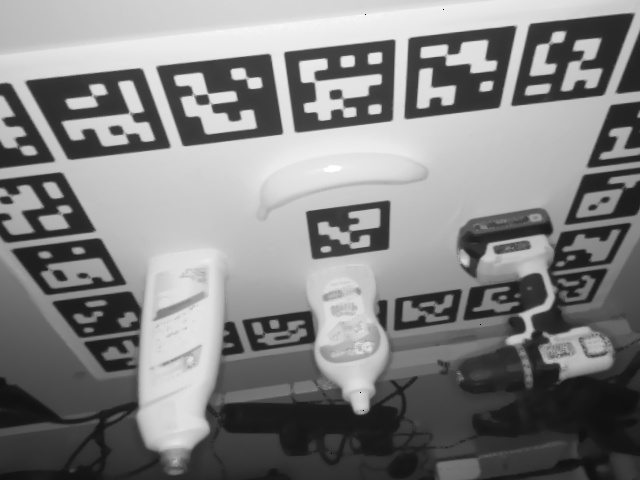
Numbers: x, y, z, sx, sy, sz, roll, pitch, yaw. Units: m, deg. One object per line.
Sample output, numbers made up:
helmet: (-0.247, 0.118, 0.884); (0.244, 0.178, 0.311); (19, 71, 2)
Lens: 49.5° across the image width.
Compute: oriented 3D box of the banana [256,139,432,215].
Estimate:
banana: (0.022, -0.074, 0.741); (0.198, 0.039, 0.074); (-12, 137, -2)

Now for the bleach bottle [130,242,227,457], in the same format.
bleach bottle: (-0.155, 0.117, 0.776); (0.103, 0.252, 0.067); (0, 139, -9)

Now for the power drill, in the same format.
power drill: (0.224, 0.086, 0.815); (0.185, 0.188, 0.057); (-12, 139, -2)

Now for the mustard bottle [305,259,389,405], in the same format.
mustard bottle: (0.035, 0.113, 0.858); (0.096, 0.193, 0.058); (-10, 139, 4)
